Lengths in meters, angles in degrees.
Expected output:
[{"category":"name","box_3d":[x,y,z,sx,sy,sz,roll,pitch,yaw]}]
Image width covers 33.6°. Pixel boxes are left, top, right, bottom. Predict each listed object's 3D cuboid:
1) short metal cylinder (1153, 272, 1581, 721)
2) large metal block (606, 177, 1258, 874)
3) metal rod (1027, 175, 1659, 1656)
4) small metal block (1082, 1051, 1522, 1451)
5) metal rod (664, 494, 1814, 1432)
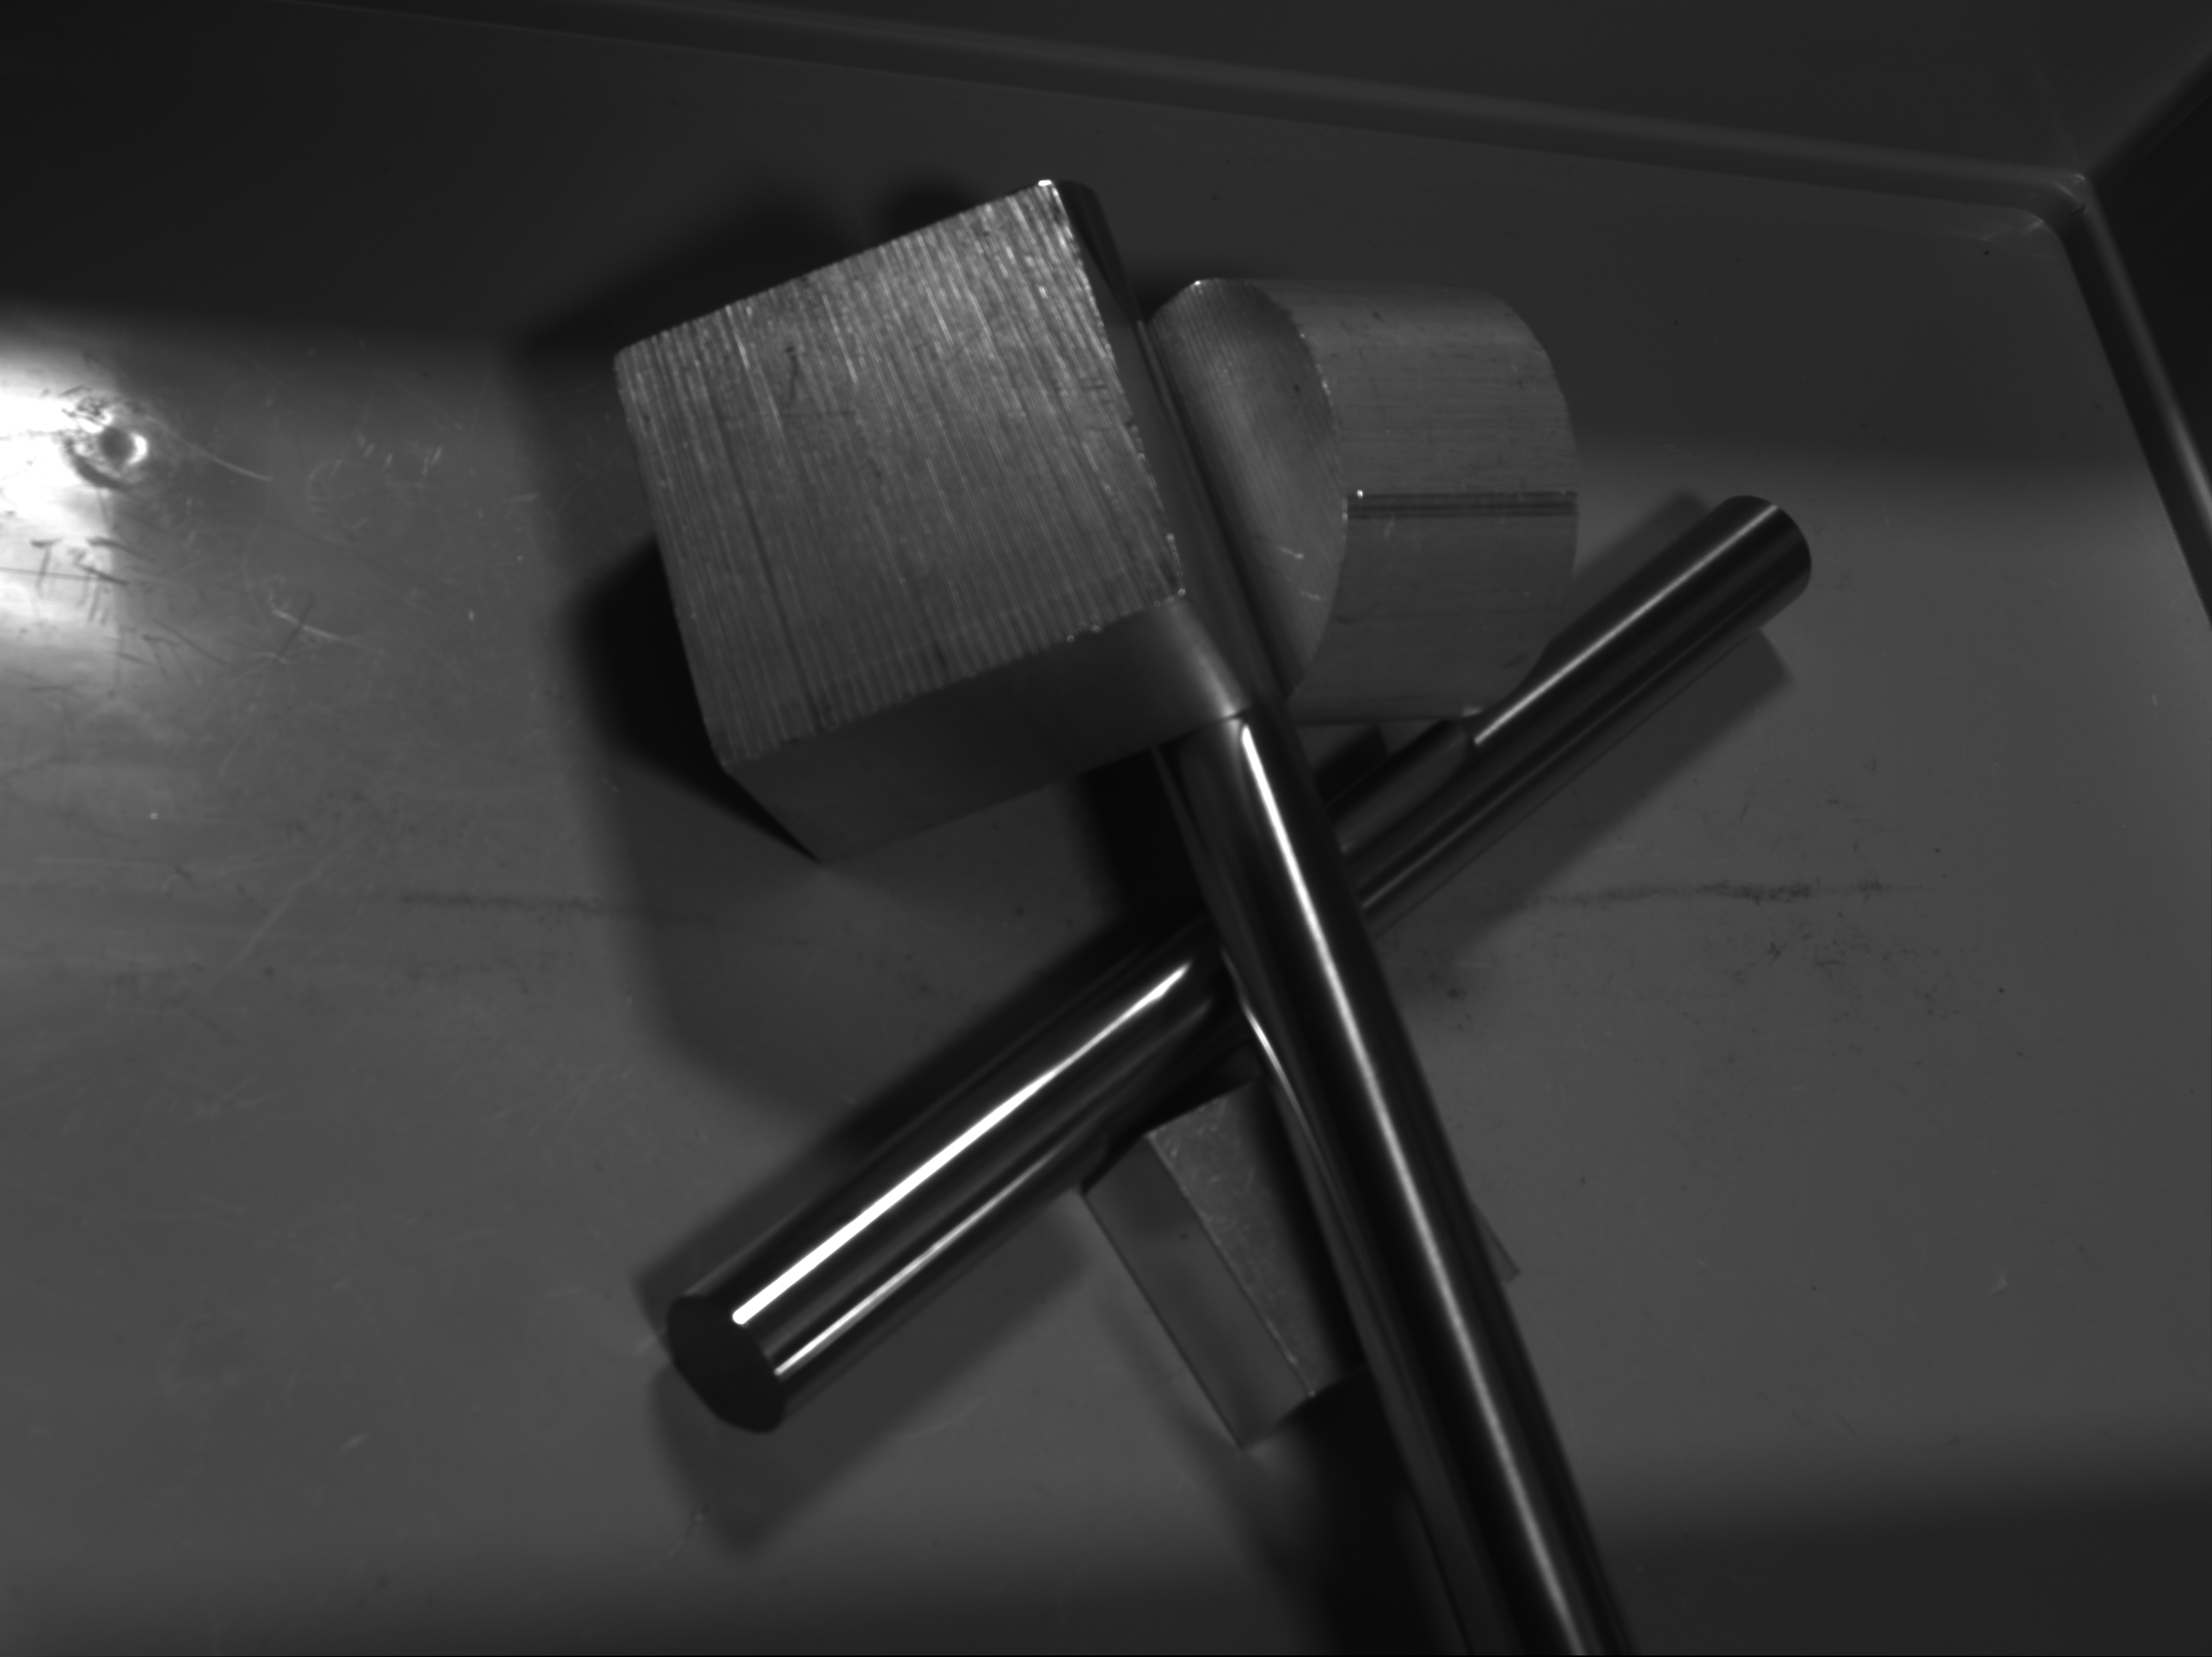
[{"category":"short metal cylinder","box_3d":[0.041,-0.059,0.660,0.050,0.080,0.080,-4,63,-31]},{"category":"large metal block","box_3d":[-0.029,-0.049,0.612,0.080,0.050,0.080,-21,67,7]},{"category":"metal rod","box_3d":[0.034,0.018,0.612,0.025,0.025,0.300,-5,63,-30]},{"category":"small metal block","box_3d":[0.033,0.068,0.614,0.050,0.025,0.050,-23,74,-36]},{"category":"metal rod","box_3d":[0.037,0.012,0.650,0.025,0.025,0.301,49,51,6]}]
